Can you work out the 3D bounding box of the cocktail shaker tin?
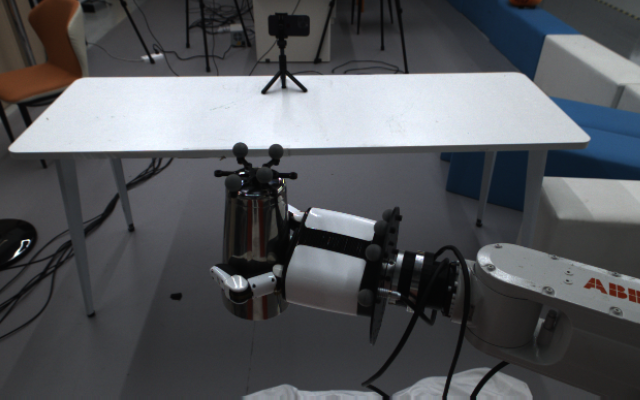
[{"bbox_3d":[-0.072,0.050,0.575,0.093,0.170,0.093,3,34,-2],"label":"cocktail shaker tin"}]
